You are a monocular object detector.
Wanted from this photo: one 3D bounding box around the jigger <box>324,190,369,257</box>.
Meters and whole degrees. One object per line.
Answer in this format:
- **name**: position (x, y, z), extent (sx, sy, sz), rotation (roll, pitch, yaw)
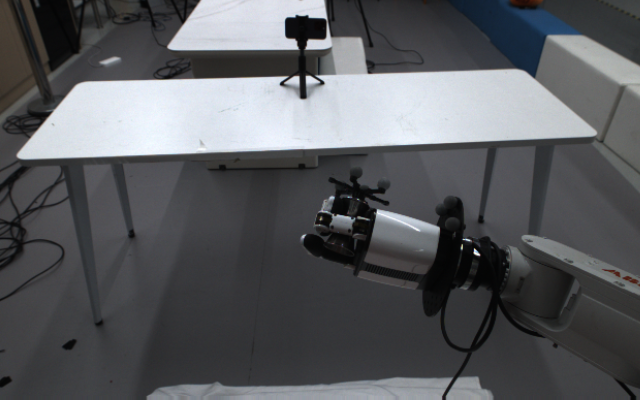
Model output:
- **jigger**: position (0.037, 0.032, 0.635), extent (0.043, 0.043, 0.071), rotation (15, 70, 18)
